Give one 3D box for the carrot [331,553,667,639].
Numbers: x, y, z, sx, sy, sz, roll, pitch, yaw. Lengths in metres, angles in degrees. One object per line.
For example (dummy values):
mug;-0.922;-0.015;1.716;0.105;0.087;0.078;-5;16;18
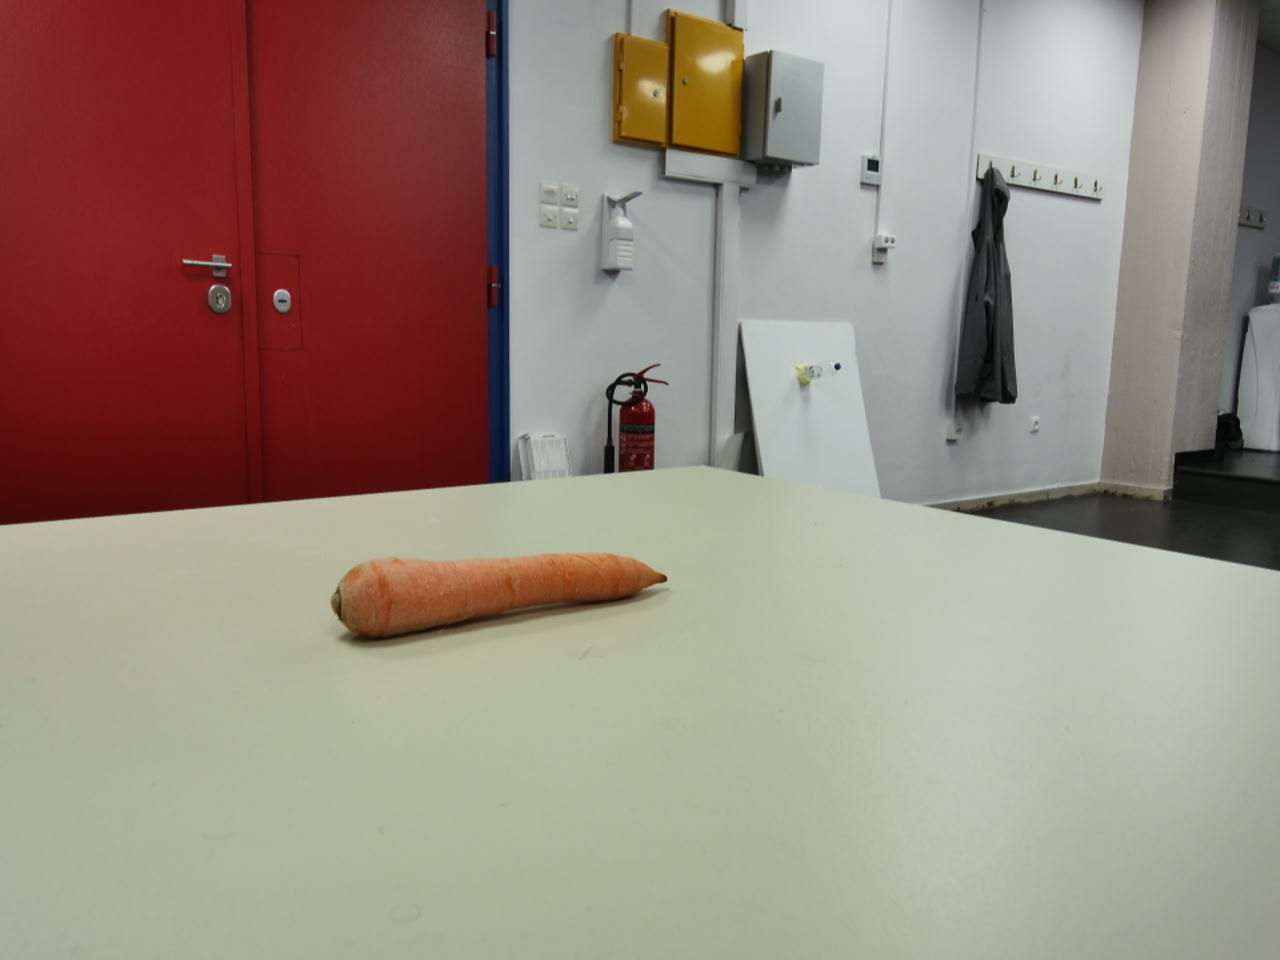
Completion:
carrot;-0.066;0.053;0.534;0.196;0.041;0.039;-6;9;-36
